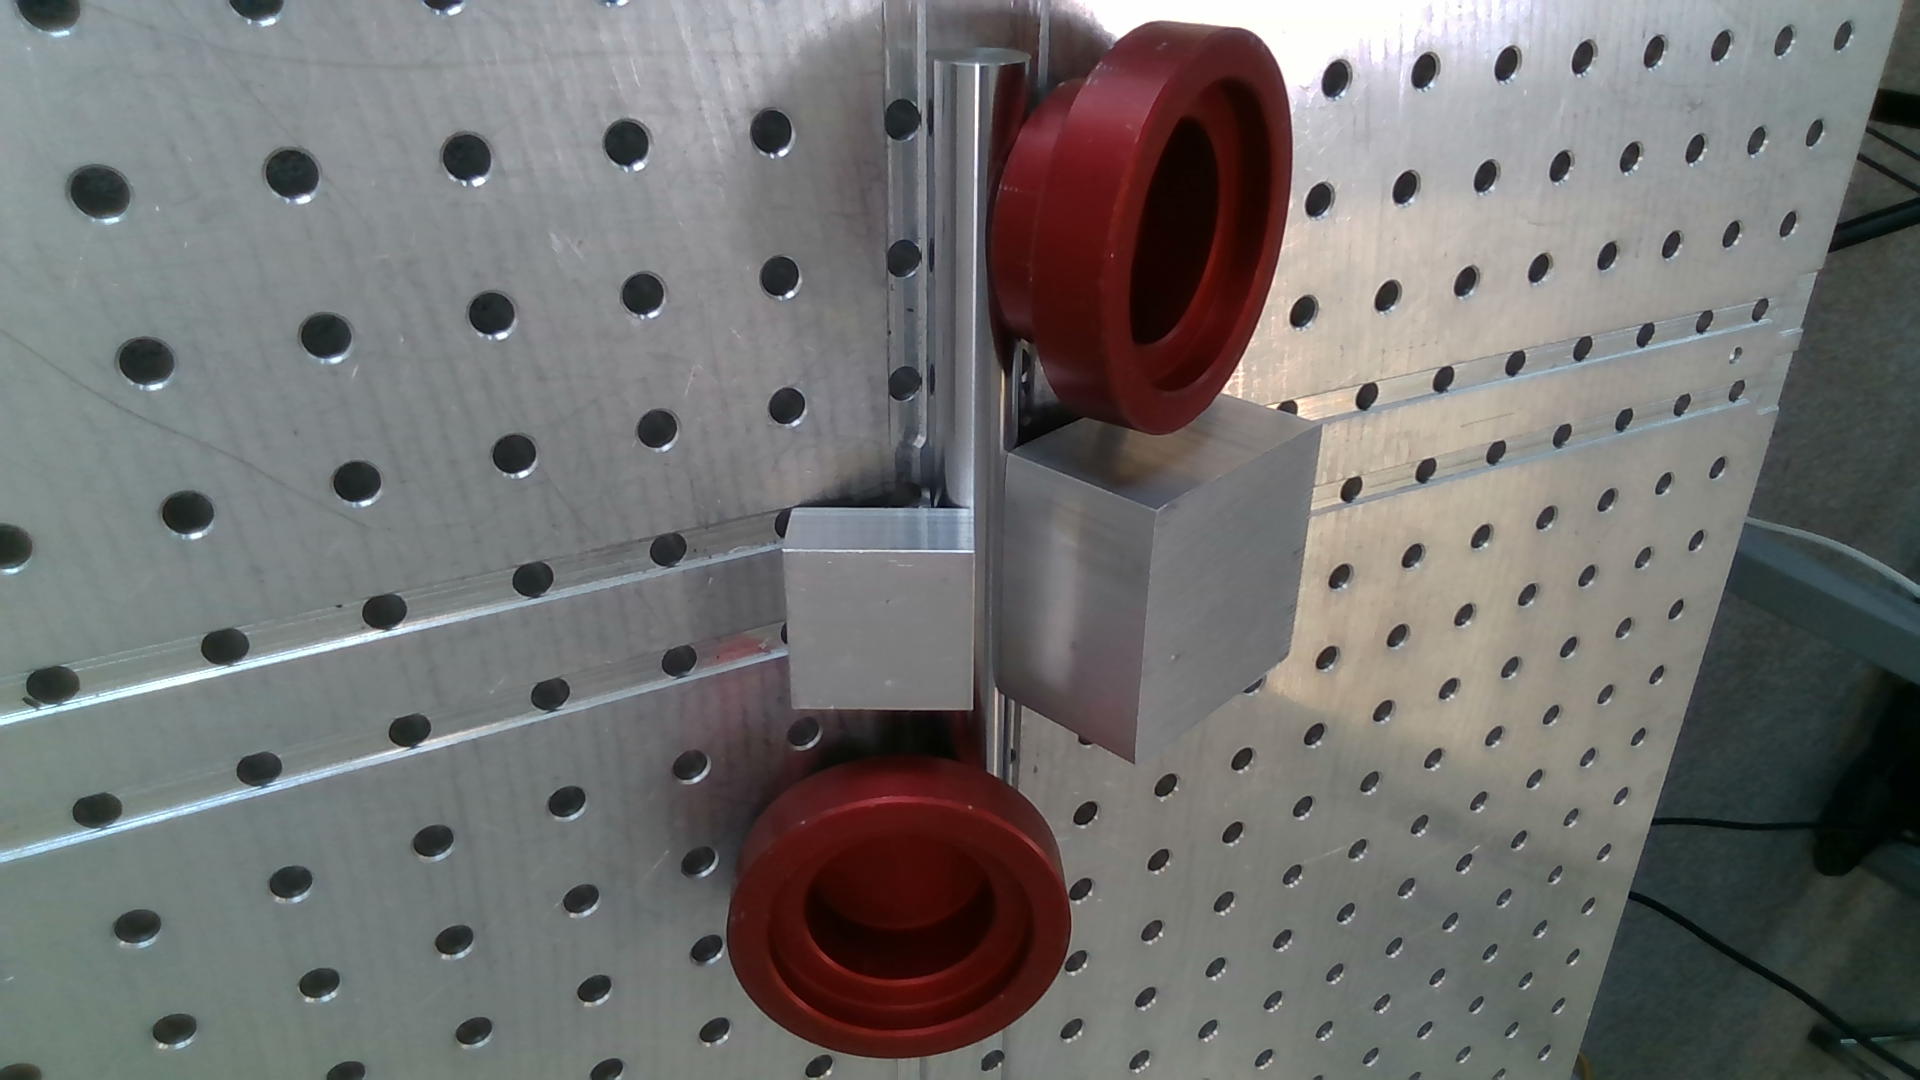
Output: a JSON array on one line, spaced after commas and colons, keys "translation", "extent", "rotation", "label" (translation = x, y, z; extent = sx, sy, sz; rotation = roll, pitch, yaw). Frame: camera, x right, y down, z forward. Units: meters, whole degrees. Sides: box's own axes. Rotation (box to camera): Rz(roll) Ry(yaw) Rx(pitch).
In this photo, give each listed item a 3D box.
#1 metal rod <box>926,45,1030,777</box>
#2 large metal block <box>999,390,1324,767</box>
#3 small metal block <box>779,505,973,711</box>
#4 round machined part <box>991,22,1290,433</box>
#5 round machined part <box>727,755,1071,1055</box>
[{"translation": [0.003, 0.015, 0.404], "extent": [0.025, 0.025, 0.301], "rotation": [-14, 121, -25], "label": "metal rod"}, {"translation": [0.058, 0.006, 0.401], "extent": [0.080, 0.050, 0.080], "rotation": [-26, 128, -40], "label": "large metal block"}, {"translation": [-0.022, 0.019, 0.377], "extent": [0.050, 0.025, 0.050], "rotation": [1, 118, 0], "label": "small metal block"}, {"translation": [0.044, -0.079, 0.349], "extent": [0.098, 0.042, 0.098], "rotation": [-34, 133, -46], "label": "round machined part"}, {"translation": [-0.018, 0.103, 0.411], "extent": [0.098, 0.042, 0.098], "rotation": [-2, 118, -3], "label": "round machined part"}]
